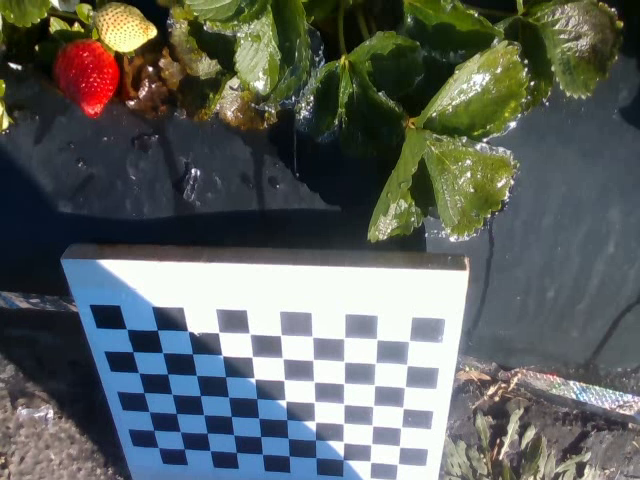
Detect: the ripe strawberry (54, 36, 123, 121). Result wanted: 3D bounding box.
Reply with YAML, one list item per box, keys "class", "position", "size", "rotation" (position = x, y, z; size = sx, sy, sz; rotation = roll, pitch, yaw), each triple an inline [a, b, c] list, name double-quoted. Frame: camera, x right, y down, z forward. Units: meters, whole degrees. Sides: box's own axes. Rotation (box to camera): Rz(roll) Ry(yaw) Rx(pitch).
- class: "ripe strawberry"
  position: [-0.131, -0.088, 0.326]
  size: [0.040, 0.053, 0.042]
  rotation: [-33, -38, 20]
